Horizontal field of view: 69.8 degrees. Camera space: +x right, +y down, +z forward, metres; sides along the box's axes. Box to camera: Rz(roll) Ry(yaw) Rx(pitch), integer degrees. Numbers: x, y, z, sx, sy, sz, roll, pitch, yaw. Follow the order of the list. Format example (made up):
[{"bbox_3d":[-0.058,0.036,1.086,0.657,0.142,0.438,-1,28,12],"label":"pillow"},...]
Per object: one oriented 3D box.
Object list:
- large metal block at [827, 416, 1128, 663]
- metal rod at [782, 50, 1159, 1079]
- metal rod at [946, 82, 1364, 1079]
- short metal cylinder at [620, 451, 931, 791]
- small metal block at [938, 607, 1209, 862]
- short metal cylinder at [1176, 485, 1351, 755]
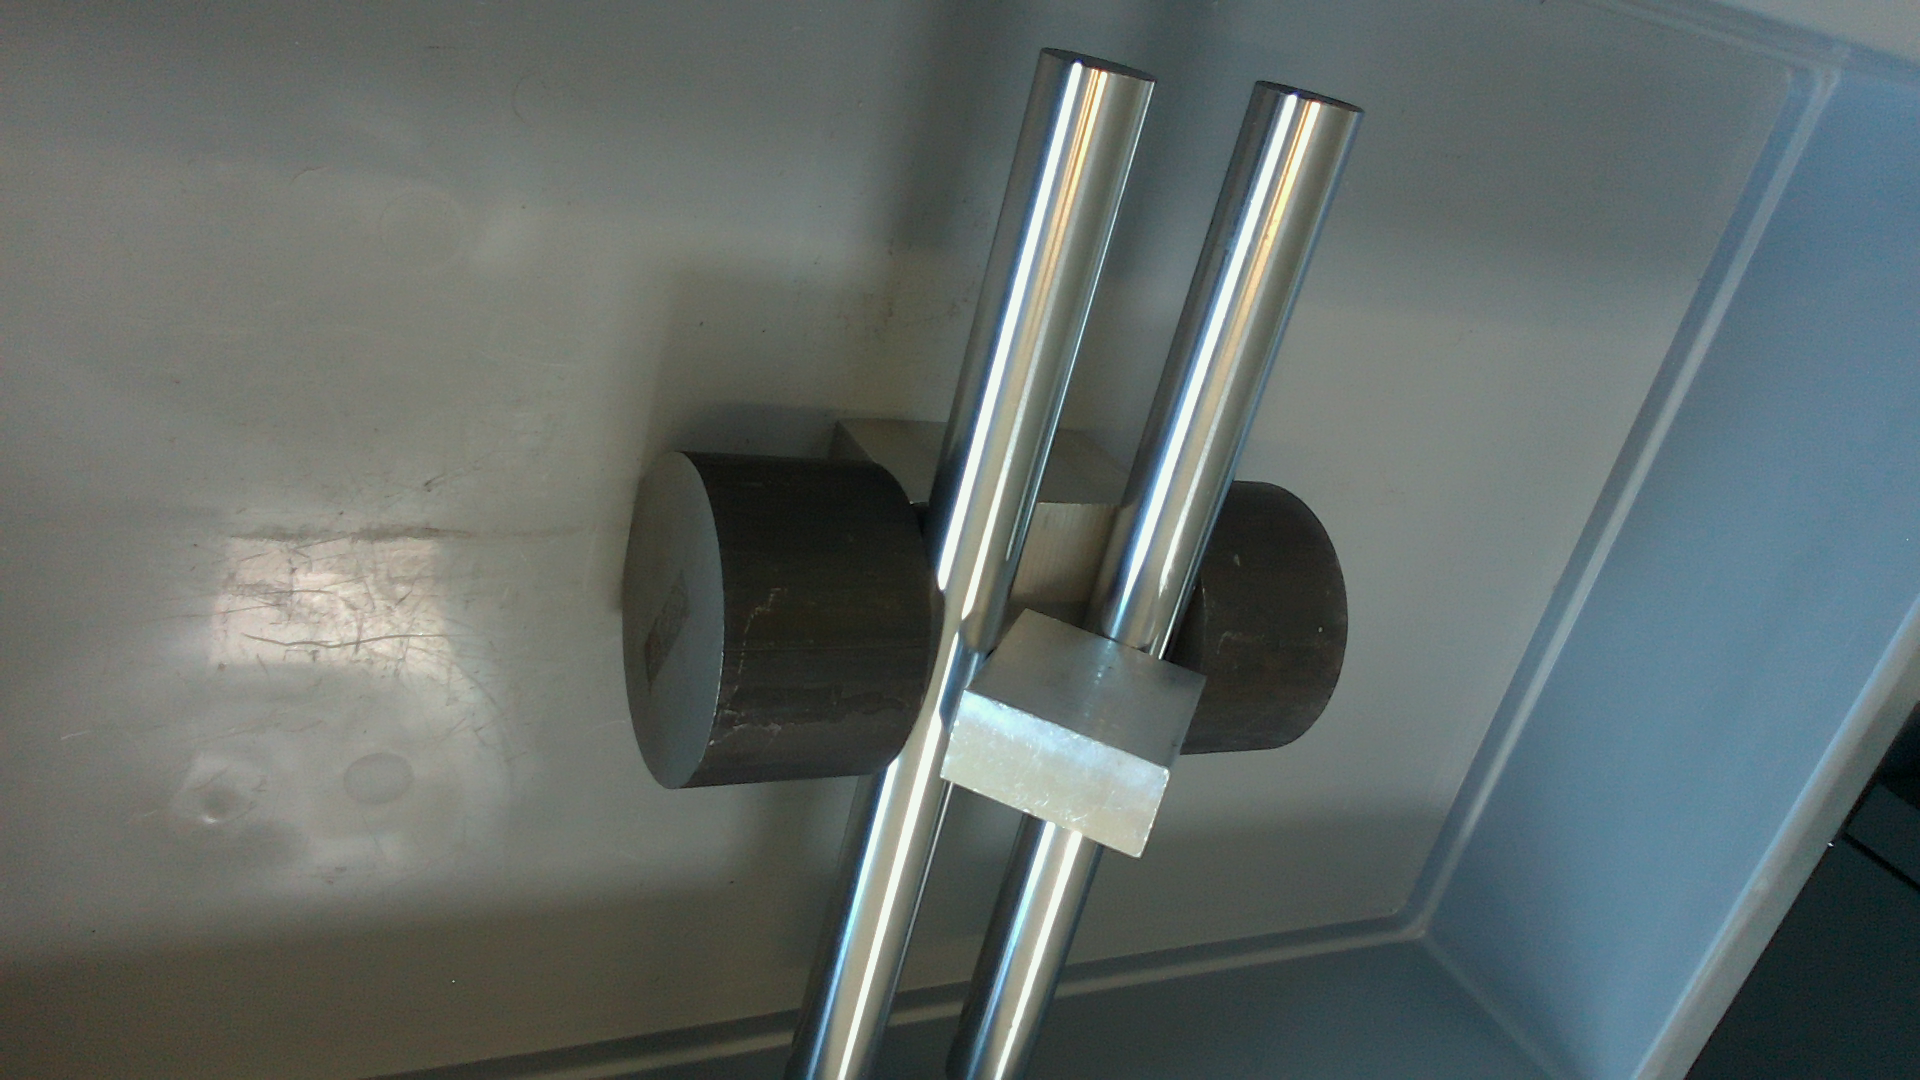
[{"bbox_3d":[0.003,0.014,0.382,0.080,0.050,0.080,1,118,-29],"label":"large metal block"},{"bbox_3d":[-0.006,0.035,0.342,0.025,0.025,0.300,1,118,-29],"label":"metal rod"},{"bbox_3d":[0.043,0.034,0.367,0.025,0.025,0.300,1,118,-29],"label":"metal rod"},{"bbox_3d":[-0.048,0.019,0.338,0.050,0.080,0.080,1,118,-29],"label":"short metal cylinder"},{"bbox_3d":[0.029,0.045,0.334,0.050,0.050,0.025,20,115,11],"label":"small metal block"},{"bbox_3d":[0.067,0.023,0.402,0.050,0.080,0.080,1,118,-28],"label":"short metal cylinder"}]
